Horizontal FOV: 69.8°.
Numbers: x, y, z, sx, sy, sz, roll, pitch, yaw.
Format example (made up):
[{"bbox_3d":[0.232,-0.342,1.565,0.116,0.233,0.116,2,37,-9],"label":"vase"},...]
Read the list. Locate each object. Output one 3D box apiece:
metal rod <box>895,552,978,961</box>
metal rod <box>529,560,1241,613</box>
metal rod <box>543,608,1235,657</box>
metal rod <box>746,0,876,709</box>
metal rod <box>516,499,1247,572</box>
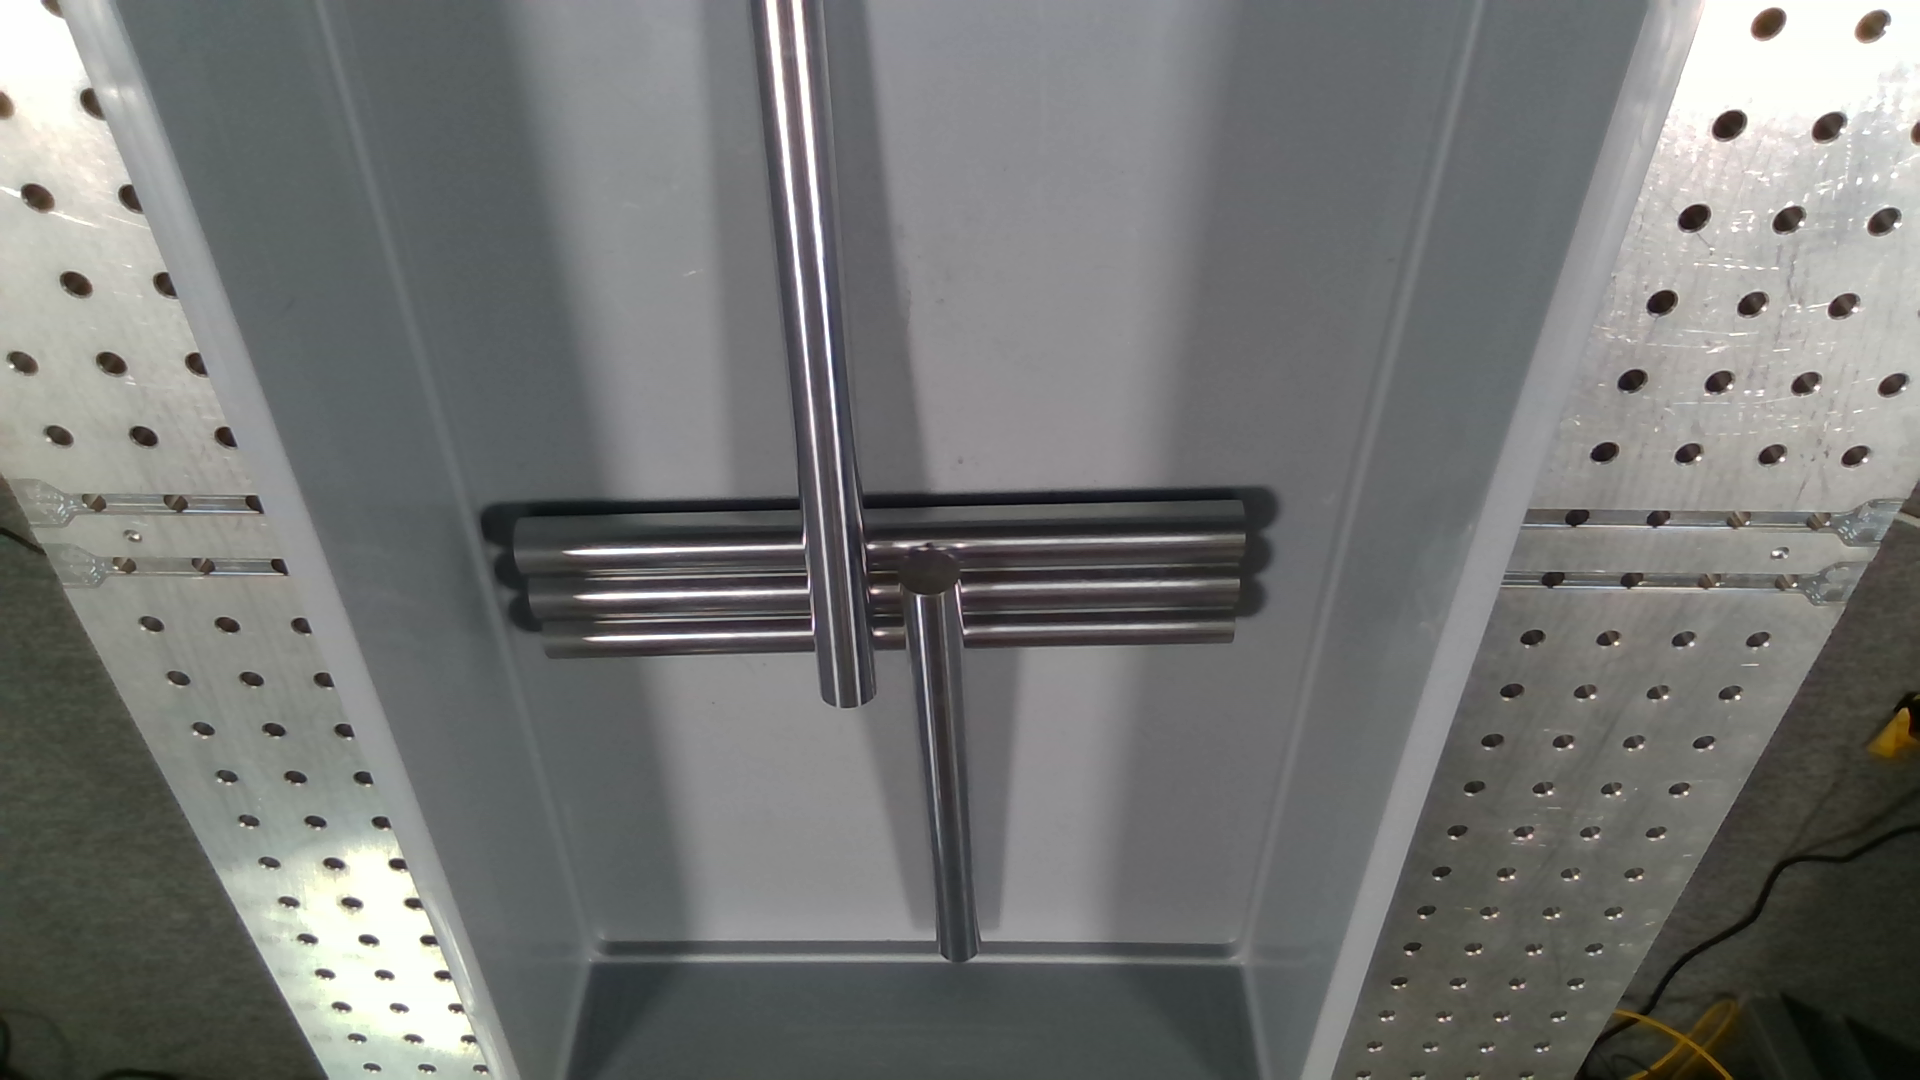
[{"bbox_3d":[-0.008,0.118,0.655,0.025,0.025,0.301,-2,136,1],"label":"metal rod"},{"bbox_3d":[-0.032,0.017,0.592,0.300,0.025,0.025,-1,130,1],"label":"metal rod"},{"bbox_3d":[-0.031,0.036,0.609,0.300,0.025,0.025,-1,130,1],"label":"metal rod"},{"bbox_3d":[-0.052,-0.060,0.506,0.025,0.025,0.301,-1,124,1],"label":"metal rod"},{"bbox_3d":[-0.033,-0.002,0.576,0.300,0.025,0.025,-1,130,1],"label":"metal rod"}]
